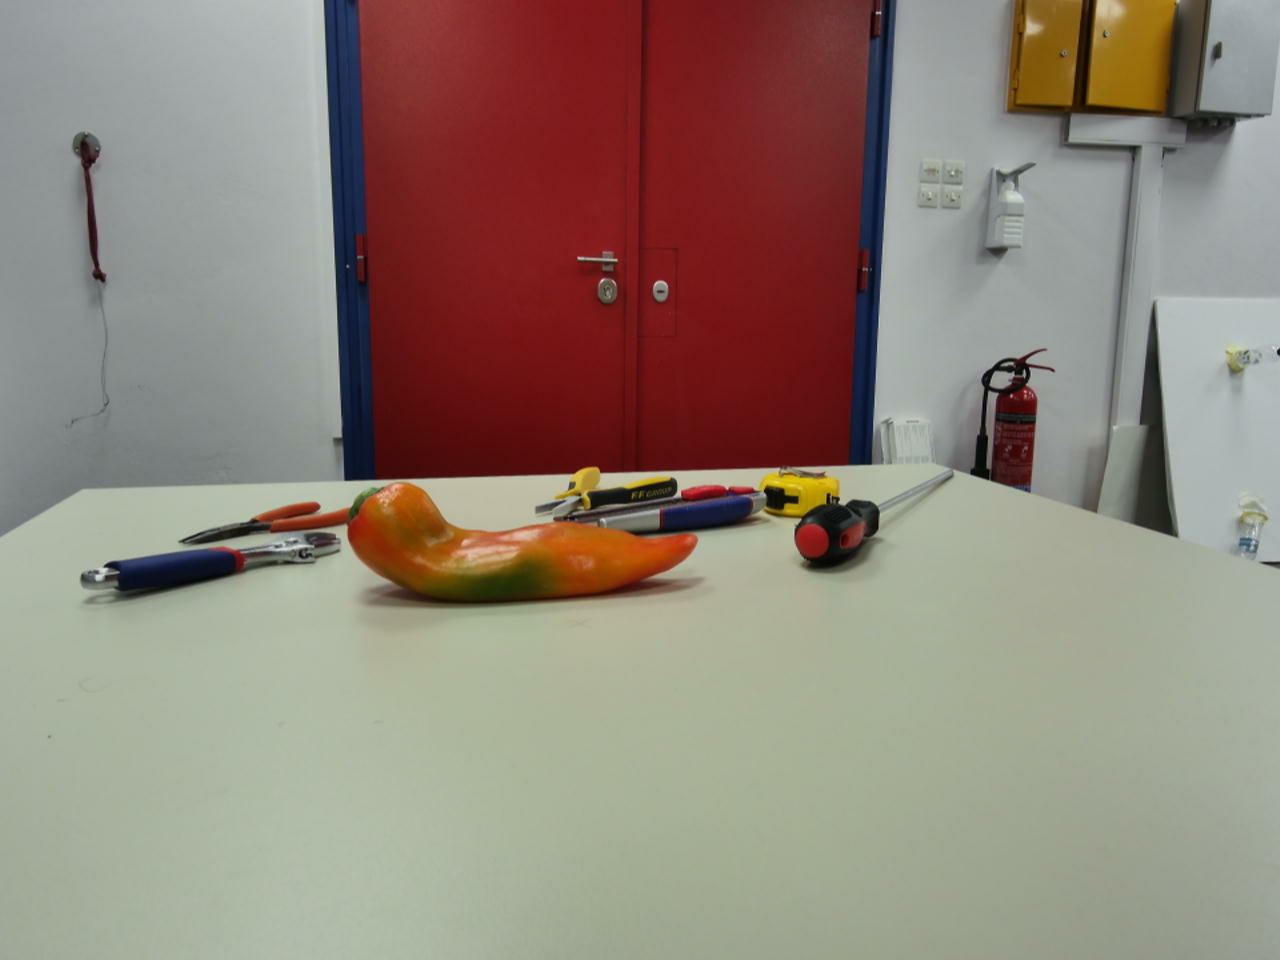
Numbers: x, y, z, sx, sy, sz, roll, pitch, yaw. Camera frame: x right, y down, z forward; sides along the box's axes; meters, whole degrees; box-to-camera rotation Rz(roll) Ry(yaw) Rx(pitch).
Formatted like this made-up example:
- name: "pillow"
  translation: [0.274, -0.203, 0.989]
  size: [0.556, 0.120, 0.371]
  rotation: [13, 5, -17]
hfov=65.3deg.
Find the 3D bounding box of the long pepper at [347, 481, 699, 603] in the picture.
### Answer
- name: "long pepper"
  translation: [-0.063, 0.032, 0.566]
  size: [0.199, 0.065, 0.066]
  rotation: [-1, 8, -8]
